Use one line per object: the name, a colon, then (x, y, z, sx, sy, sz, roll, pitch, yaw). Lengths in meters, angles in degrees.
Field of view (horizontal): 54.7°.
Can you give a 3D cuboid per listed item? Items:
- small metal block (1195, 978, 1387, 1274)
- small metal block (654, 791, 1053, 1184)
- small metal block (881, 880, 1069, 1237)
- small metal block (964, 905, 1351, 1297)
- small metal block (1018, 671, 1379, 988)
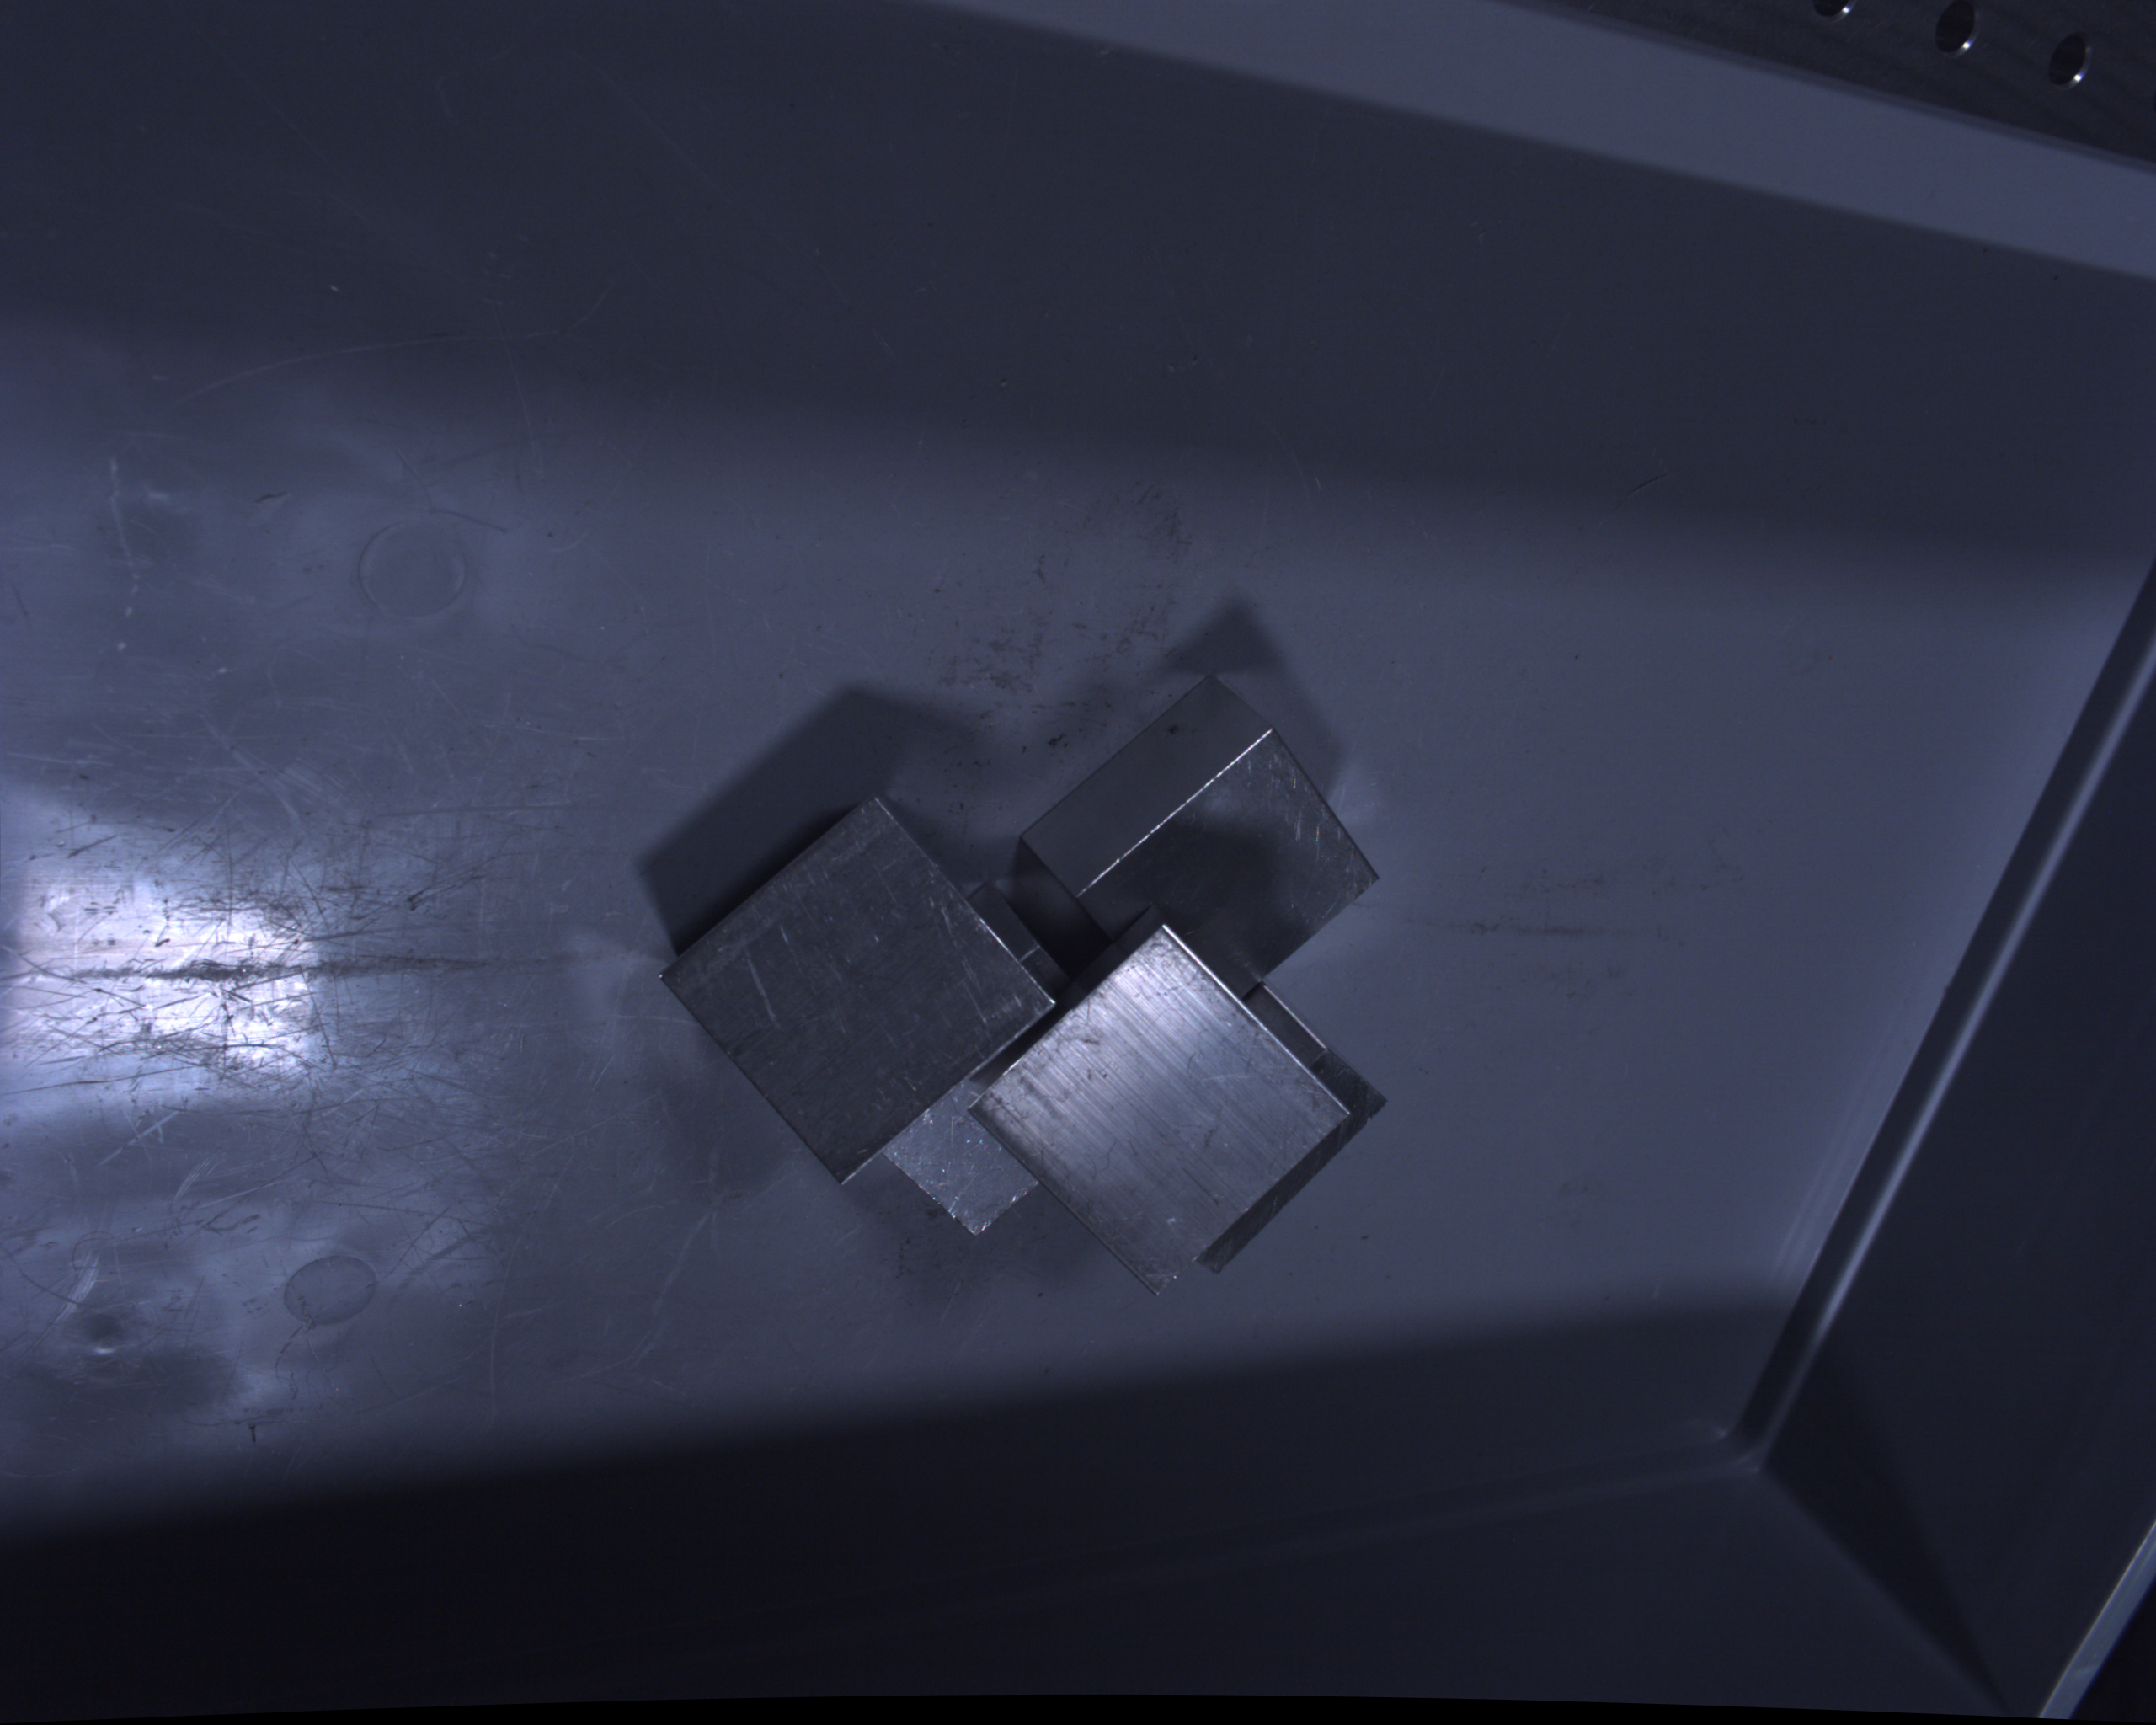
small metal block: (0.028, 0.048, 0.437, 0.050, 0.050, 0.025, -46, 130, 4)
small metal block: (-0.040, 0.022, 0.384, 0.050, 0.025, 0.050, -41, 91, -1)
small metal block: (-0.020, 0.040, 0.422, 0.050, 0.025, 0.050, -41, 130, -1)
small metal block: (0.014, 0.044, 0.395, 0.050, 0.025, 0.050, -44, 96, 2)
small metal block: (0.025, -0.001, 0.421, 0.050, 0.025, 0.050, -41, 130, -1)
